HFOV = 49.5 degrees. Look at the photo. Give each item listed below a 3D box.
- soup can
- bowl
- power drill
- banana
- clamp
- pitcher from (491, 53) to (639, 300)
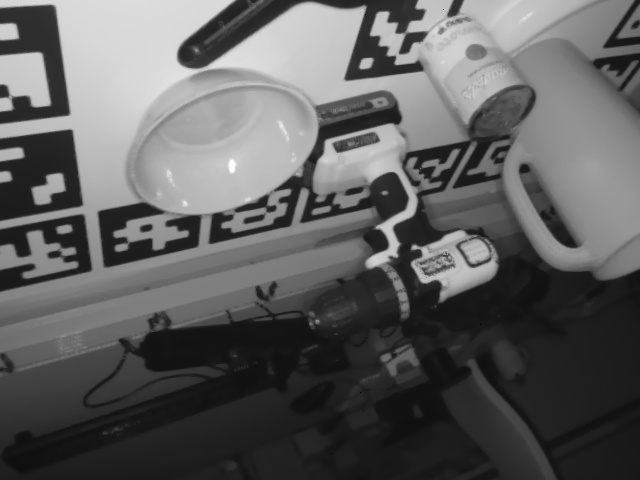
[{"bbox_3d":[0.128,-0.119,0.652,0.068,0.102,0.067,-21,158,-8],"label":"soup can"},{"bbox_3d":[-0.092,-0.048,0.630,0.163,0.055,0.160,-20,148,-13],"label":"bowl"},{"bbox_3d":[0.038,0.018,0.666,0.186,0.187,0.057,-19,149,-11],"label":"power drill"},{"bbox_3d":[0.233,-0.209,0.663,0.197,0.039,0.074,-29,158,7],"label":"banana"},{"bbox_3d":[-0.030,-0.156,0.519,0.205,0.036,0.164,-19,145,-14],"label":"clamp"},{"bbox_3d":[0.264,-0.065,0.701,0.188,0.242,0.133,-30,153,5],"label":"pitcher"}]
